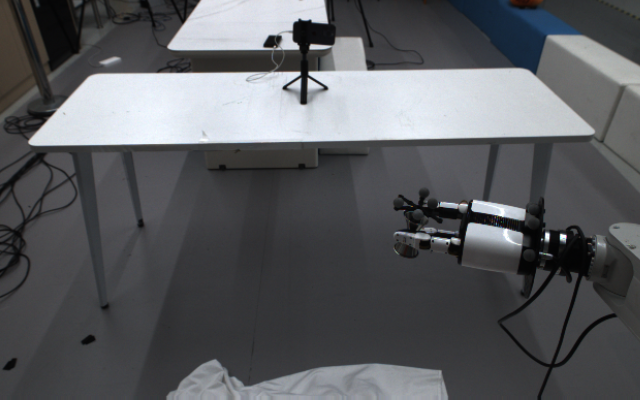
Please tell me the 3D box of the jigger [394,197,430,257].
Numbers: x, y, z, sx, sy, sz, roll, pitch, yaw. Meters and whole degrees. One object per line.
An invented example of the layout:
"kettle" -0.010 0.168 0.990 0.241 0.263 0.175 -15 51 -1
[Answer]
"jigger" 0.151 0.056 0.807 0.043 0.071 0.043 9 30 -5
